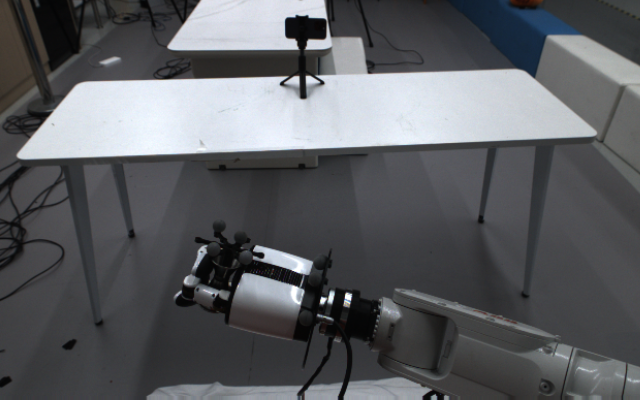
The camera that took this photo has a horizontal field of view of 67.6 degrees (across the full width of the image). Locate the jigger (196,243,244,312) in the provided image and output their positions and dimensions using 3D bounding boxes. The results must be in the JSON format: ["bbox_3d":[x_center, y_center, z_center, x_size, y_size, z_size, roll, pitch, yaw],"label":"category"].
[{"bbox_3d":[-0.128,0.107,0.630,0.043,0.071,0.043,18,17,-6],"label":"jigger"}]
